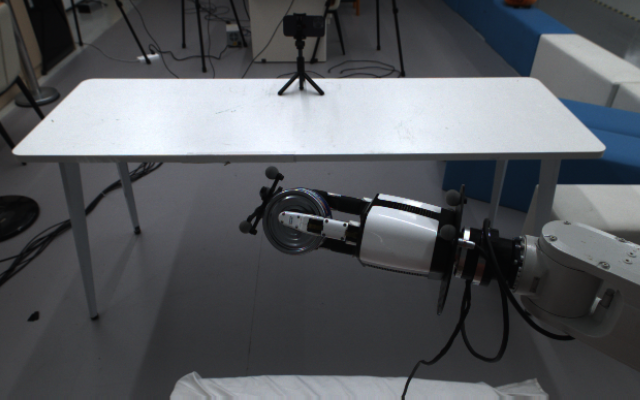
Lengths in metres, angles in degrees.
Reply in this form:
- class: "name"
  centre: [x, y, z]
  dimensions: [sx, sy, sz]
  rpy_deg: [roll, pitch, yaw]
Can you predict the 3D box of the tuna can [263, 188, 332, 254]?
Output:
- class: "tuna can"
  centre: [-0.027, 0.030, 0.617]
  dimensions: [0.085, 0.085, 0.034]
  rpy_deg: [10, 4, 11]
